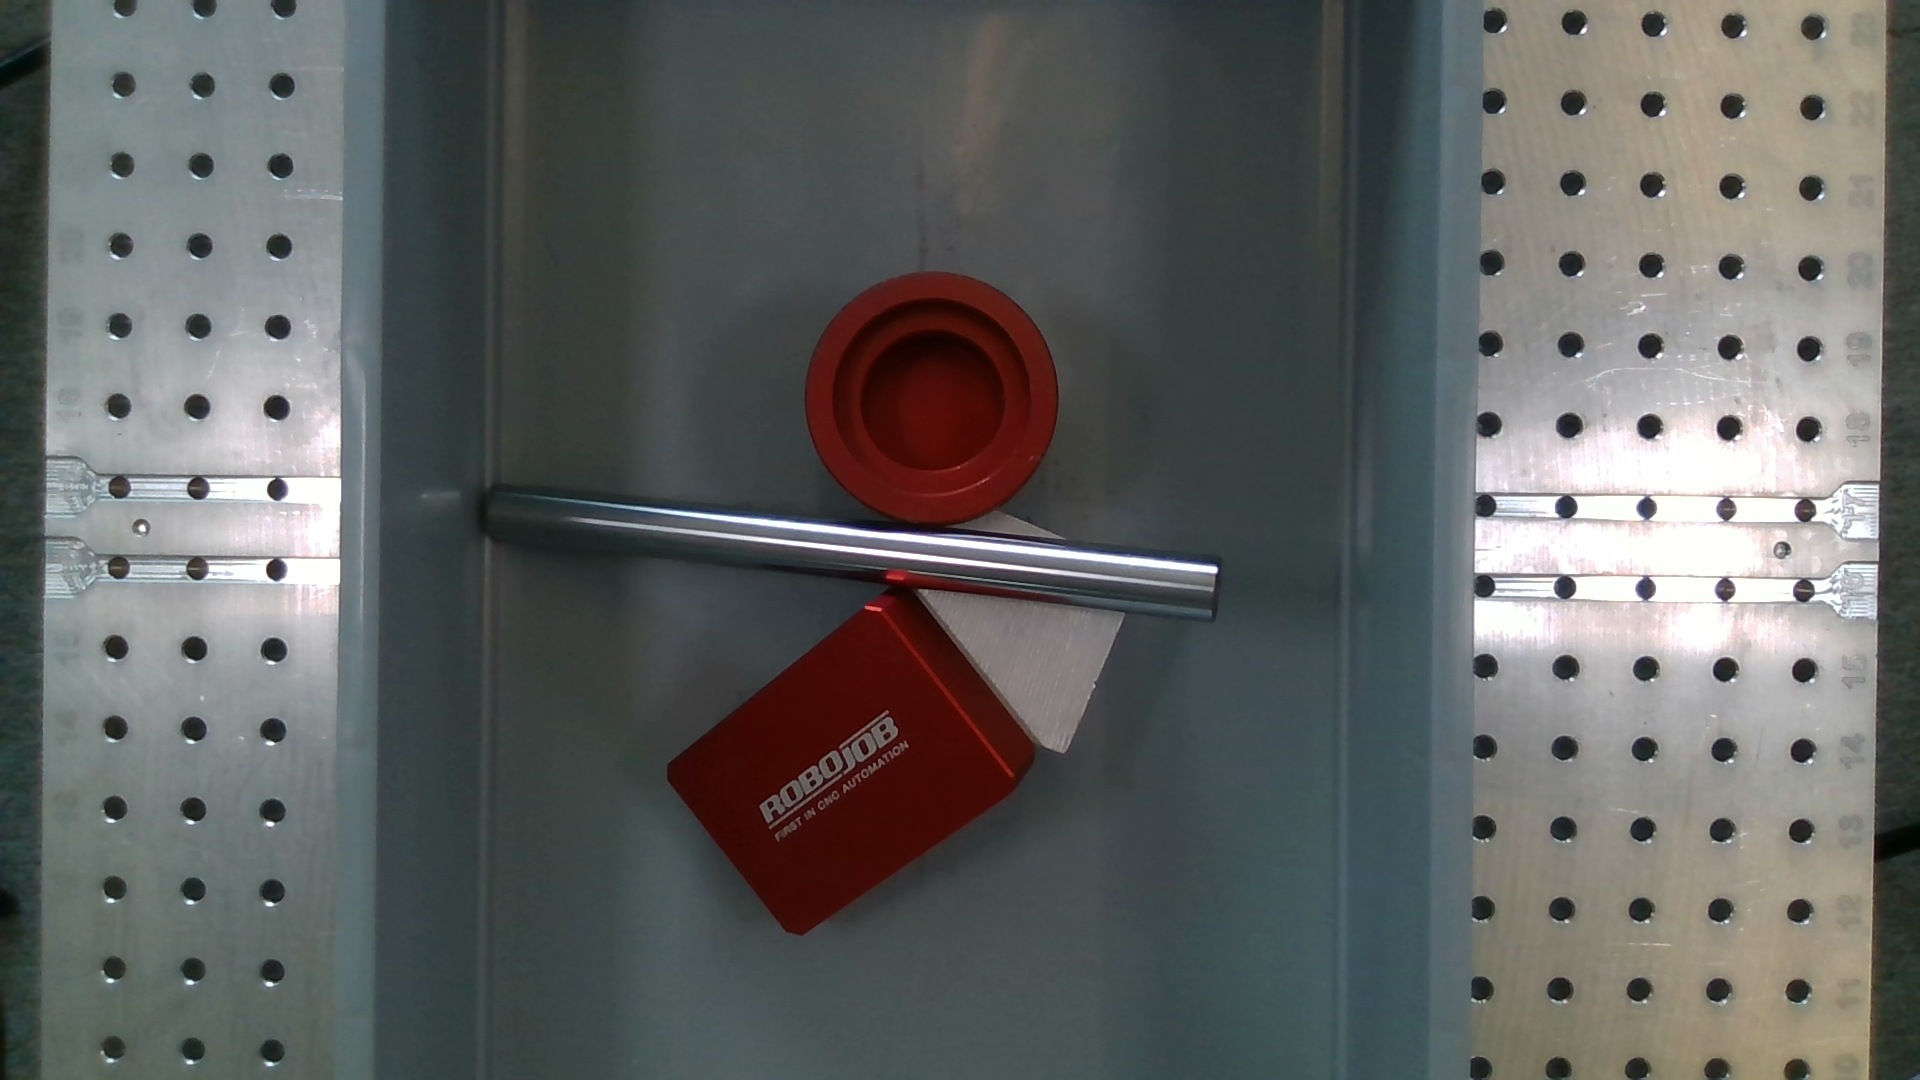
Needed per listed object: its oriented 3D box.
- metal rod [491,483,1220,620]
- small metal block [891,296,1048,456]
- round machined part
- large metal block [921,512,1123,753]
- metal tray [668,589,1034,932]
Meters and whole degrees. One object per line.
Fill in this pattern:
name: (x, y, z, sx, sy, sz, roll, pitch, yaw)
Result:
metal rod: (-0.049, 0.003, 0.546, 0.300, 0.025, 0.025, 6, 90, 16)
small metal block: (0.004, -0.069, 0.586, 0.050, 0.025, 0.050, -22, 90, 0)
round machined part: (-0.011, -0.055, 0.550, 0.098, 0.042, 0.098, 0, 87, 1)
large metal block: (0.021, 0.033, 0.575, 0.080, 0.050, 0.080, 23, 90, 0)
metal tray: (-0.046, 0.090, 0.559, 0.130, 0.030, 0.090, -39, 90, 25)
